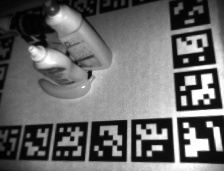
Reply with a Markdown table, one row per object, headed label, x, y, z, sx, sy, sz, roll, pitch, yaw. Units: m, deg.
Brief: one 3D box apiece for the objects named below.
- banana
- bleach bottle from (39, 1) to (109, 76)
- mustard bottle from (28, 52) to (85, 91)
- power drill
| label | x | y | z | sx | sy | sz | roll | pitch | yaw |
| --- | --- | --- | --- | --- | --- | --- | --- | --- | --- |
| banana | -0.143 | 0.018 | 0.634 | 0.195 | 0.039 | 0.074 | 0 | 74 | 23 |
| bleach bottle | -0.095 | -0.105 | 0.532 | 0.101 | 0.254 | 0.068 | -2 | 67 | 21 |
| mustard bottle | -0.154 | -0.037 | 0.560 | 0.095 | 0.194 | 0.058 | -4 | 71 | 20 |
| power drill | -0.196 | -0.108 | 0.576 | 0.182 | 0.189 | 0.057 | 8 | 75 | 22 |
